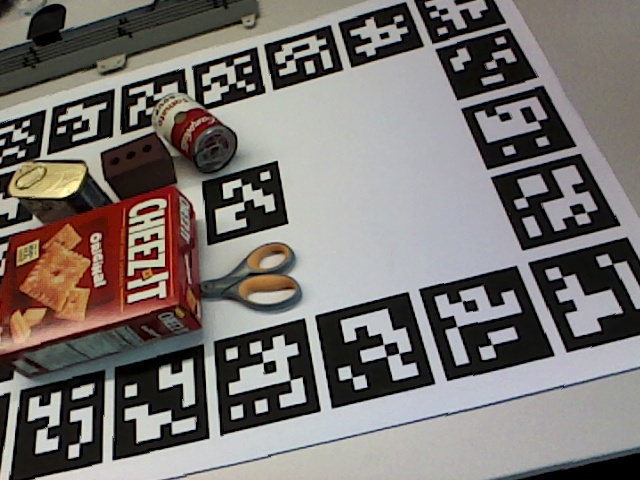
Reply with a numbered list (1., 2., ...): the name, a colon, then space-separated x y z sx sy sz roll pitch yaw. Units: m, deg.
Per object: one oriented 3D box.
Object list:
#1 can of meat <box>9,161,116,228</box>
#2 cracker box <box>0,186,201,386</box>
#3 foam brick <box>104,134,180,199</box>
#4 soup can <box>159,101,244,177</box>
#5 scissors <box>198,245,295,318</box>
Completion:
1. can of meat: -0.324 -0.052 0.789 0.102 0.083 0.058 -2 60 13
2. cracker box: -0.254 0.049 0.701 0.214 0.071 0.165 -20 56 7
3. foam brick: -0.232 -0.092 0.811 0.078 0.051 0.053 -23 57 0
4. soup can: -0.157 -0.135 0.816 0.103 0.067 0.068 34 73 35
5. scissors: -0.130 0.066 0.695 0.203 0.016 0.088 -18 57 4
